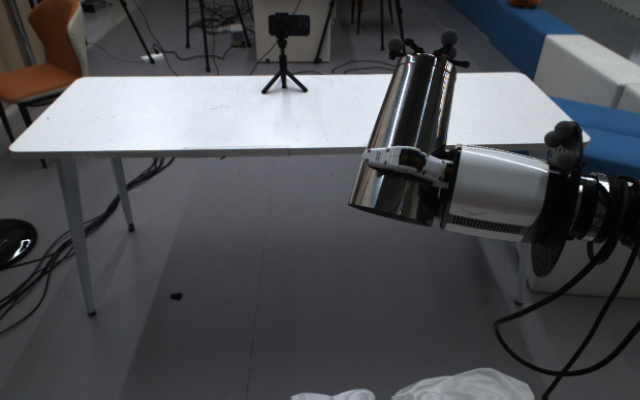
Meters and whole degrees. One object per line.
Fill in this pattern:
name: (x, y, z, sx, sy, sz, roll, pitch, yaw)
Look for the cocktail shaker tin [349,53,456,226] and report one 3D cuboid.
cocktail shaker tin: (0.097, -0.065, 0.527, 0.093, 0.170, 0.093, 15, -4, 1)
